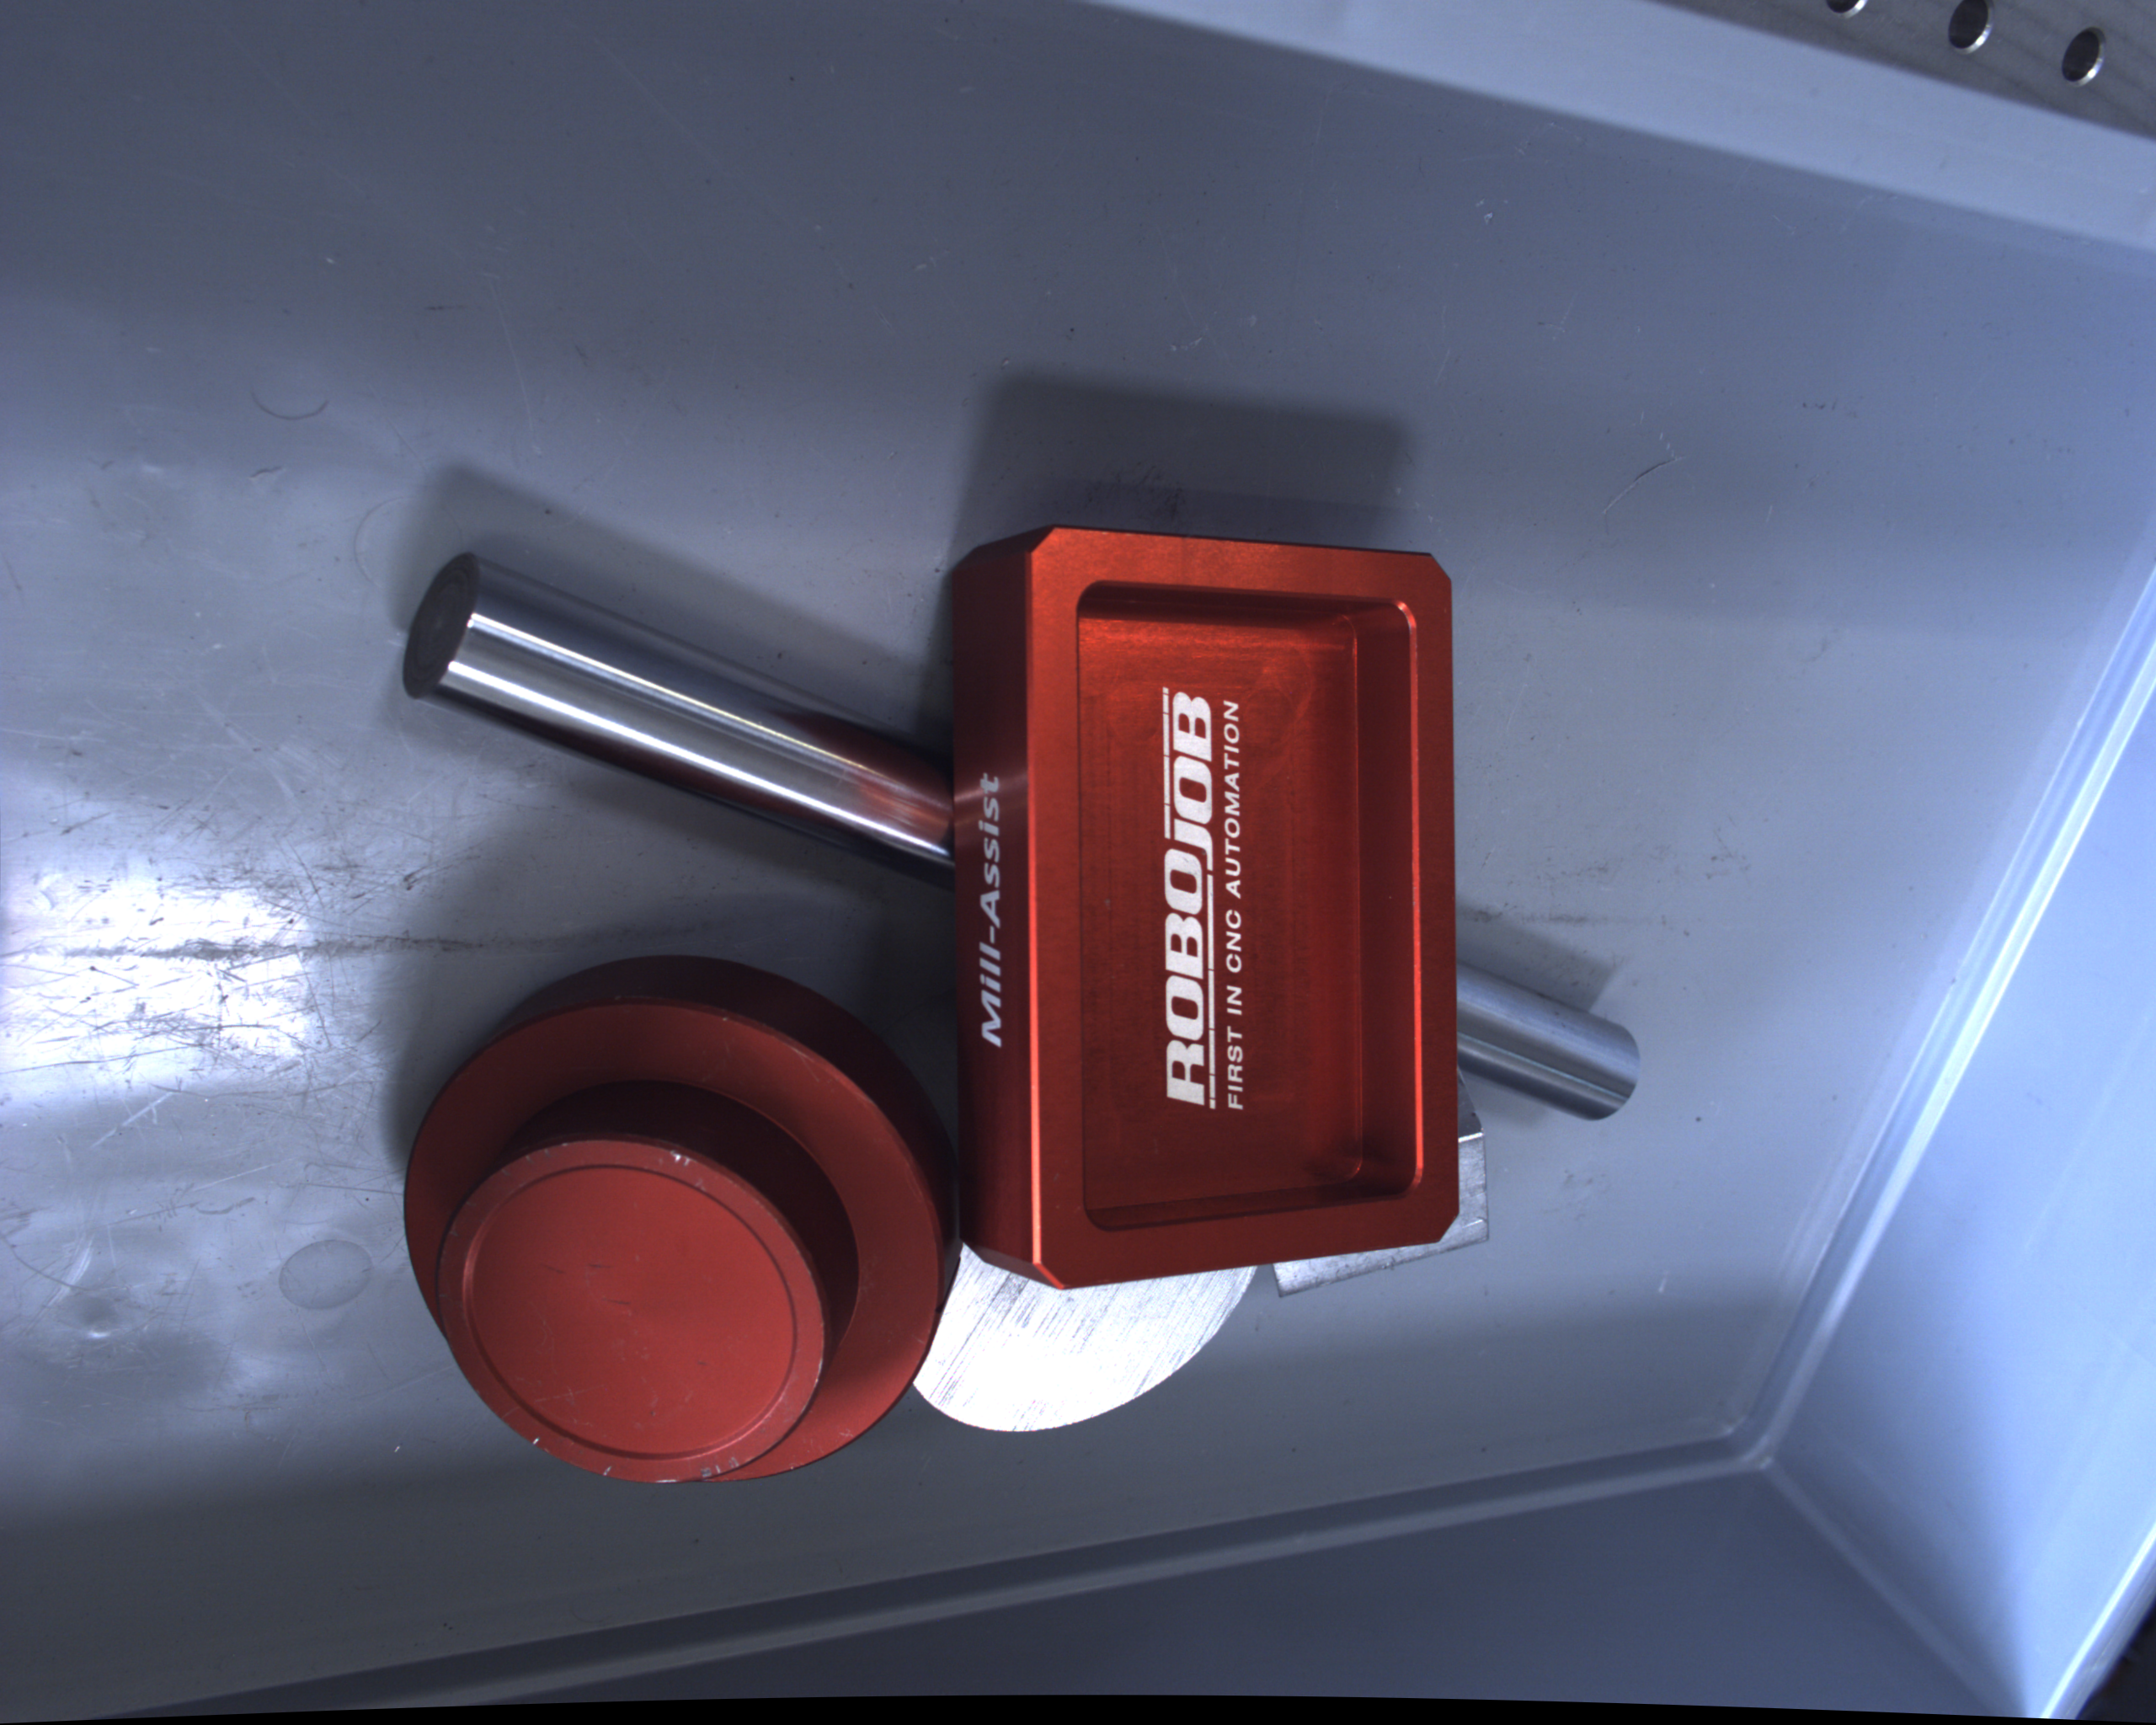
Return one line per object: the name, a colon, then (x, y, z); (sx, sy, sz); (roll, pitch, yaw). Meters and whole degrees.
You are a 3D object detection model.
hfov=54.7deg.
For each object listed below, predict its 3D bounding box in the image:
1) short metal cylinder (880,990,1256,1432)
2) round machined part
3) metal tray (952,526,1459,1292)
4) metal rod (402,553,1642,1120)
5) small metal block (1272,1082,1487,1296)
short metal cylinder: (-0.008, 0.069, 0.429); (0.081, 0.050, 0.079); (-14, 124, -21)
round machined part: (-0.072, 0.069, 0.368); (0.099, 0.042, 0.097); (2, 110, 6)
metal tray: (0.025, 0.007, 0.383); (0.091, 0.030, 0.129); (-1, 90, -29)
metal rod: (0.013, 0.007, 0.418); (0.302, 0.025, 0.025); (21, 107, -36)
small metal block: (0.064, 0.069, 0.470); (0.050, 0.025, 0.050); (-16, 143, 0)
